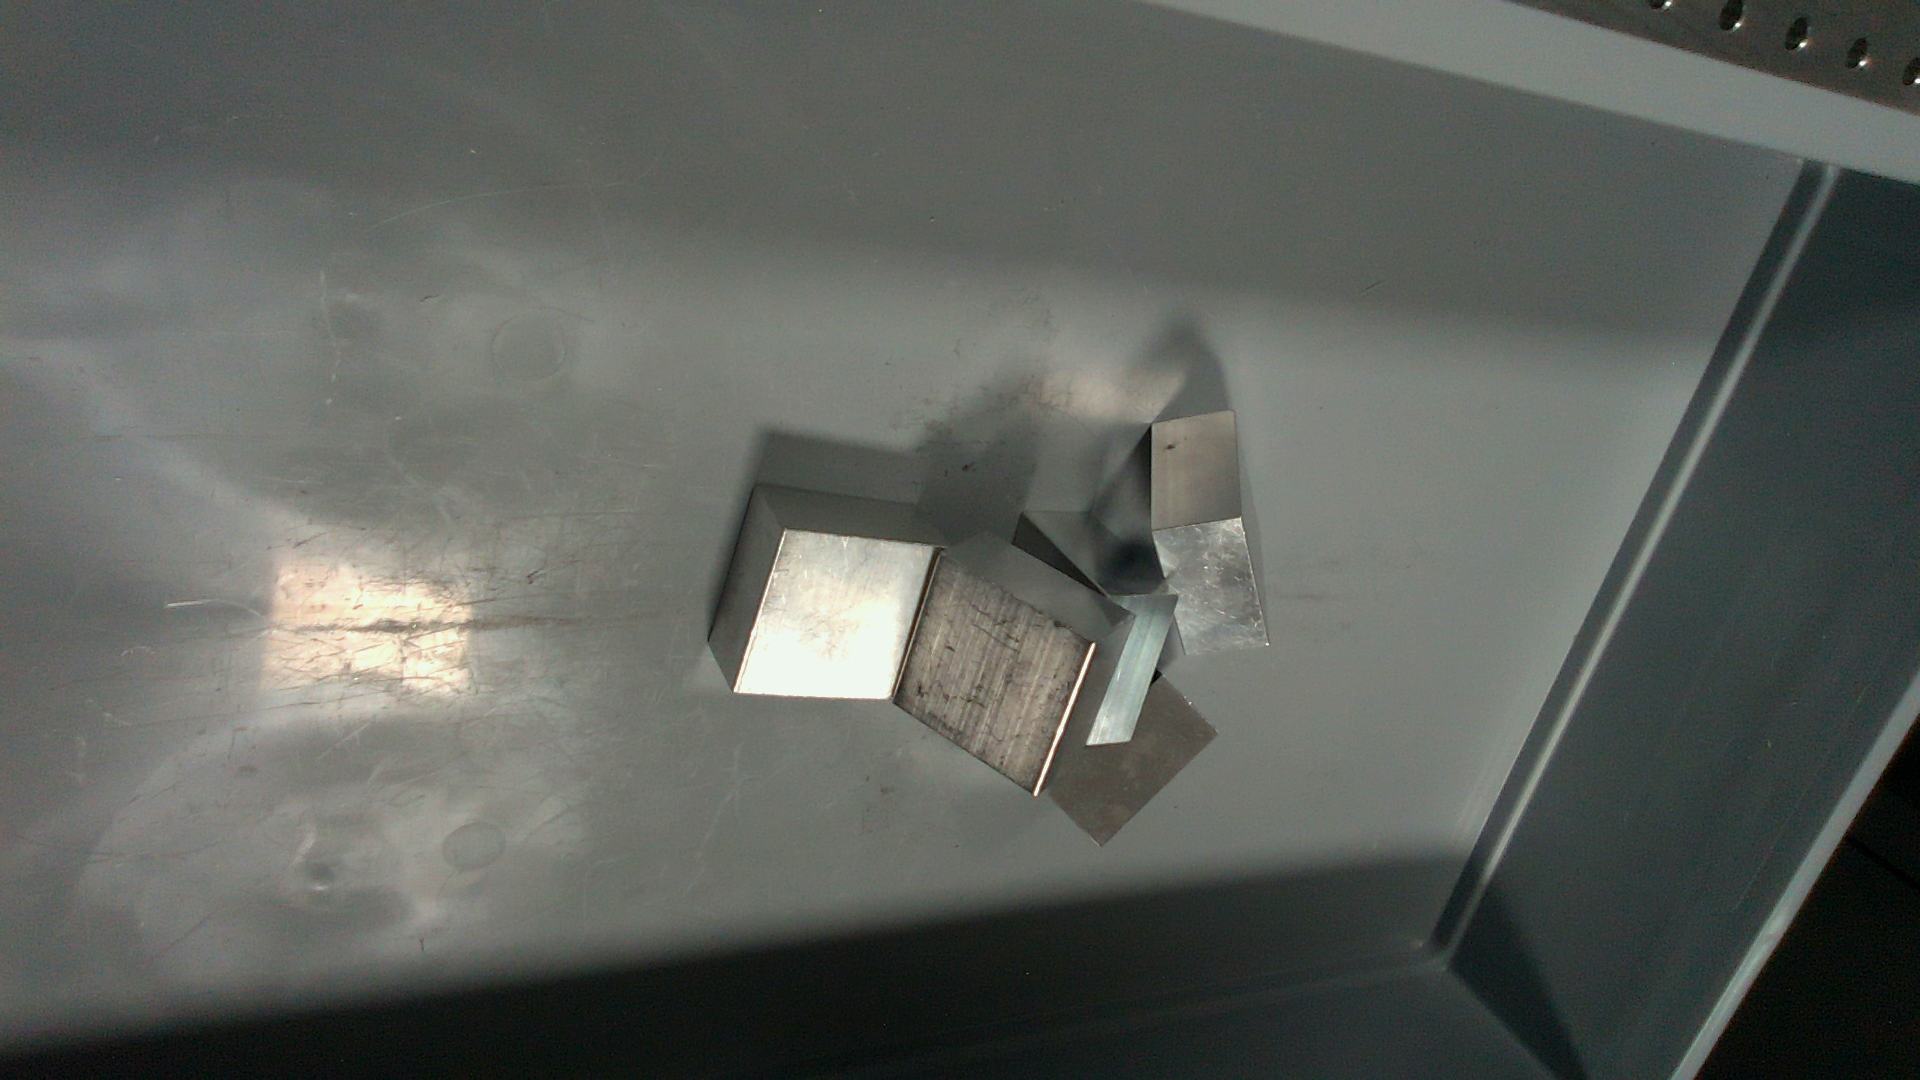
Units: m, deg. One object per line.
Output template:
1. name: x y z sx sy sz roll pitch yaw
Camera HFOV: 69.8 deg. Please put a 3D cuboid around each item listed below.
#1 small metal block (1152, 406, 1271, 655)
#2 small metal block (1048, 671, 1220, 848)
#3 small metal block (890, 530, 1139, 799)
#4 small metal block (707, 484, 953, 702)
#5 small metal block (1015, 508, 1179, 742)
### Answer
1. small metal block: 0.074 -0.003 0.407 0.025 0.050 0.050 -9 129 15
2. small metal block: 0.050 0.064 0.435 0.050 0.050 0.025 -44 94 1
3. small metal block: 0.014 0.033 0.376 0.025 0.050 0.050 -24 138 -54
4. small metal block: -0.036 0.016 0.376 0.050 0.025 0.050 6 115 -31
5. small metal block: 0.034 0.025 0.405 0.025 0.050 0.050 1 118 -29
